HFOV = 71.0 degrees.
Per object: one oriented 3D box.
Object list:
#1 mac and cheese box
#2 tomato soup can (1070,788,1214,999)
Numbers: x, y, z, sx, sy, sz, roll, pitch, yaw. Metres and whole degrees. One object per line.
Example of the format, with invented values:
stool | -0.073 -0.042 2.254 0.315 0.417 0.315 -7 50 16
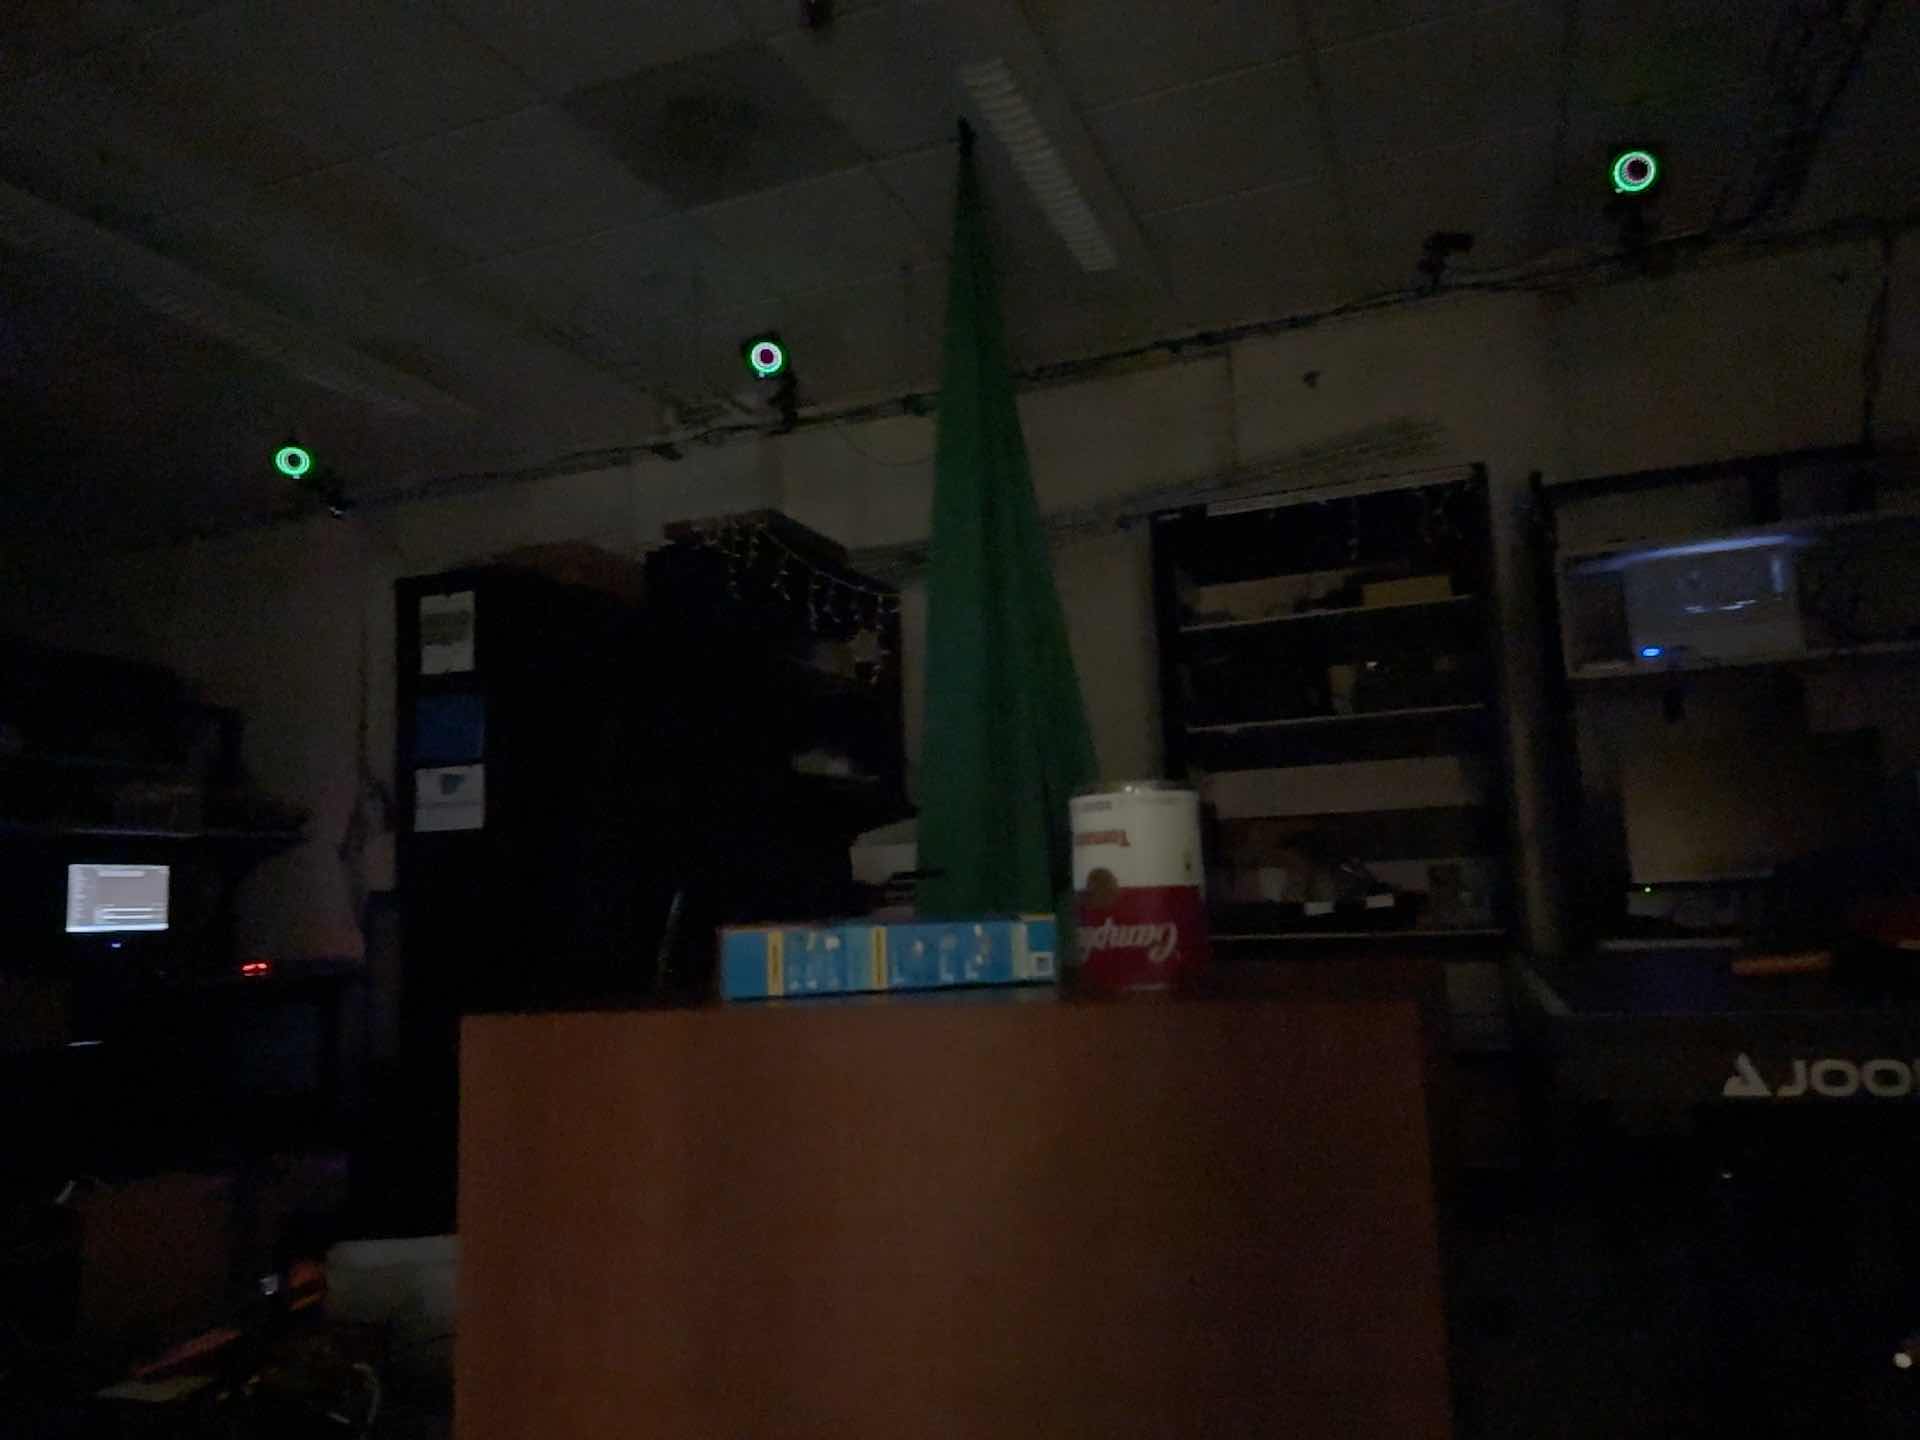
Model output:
mac and cheese box | -0.042 0.137 0.760 0.181 0.035 0.088 0 -6 -15
tomato soup can | 0.092 0.086 0.681 0.067 0.102 0.067 -2 -6 0
